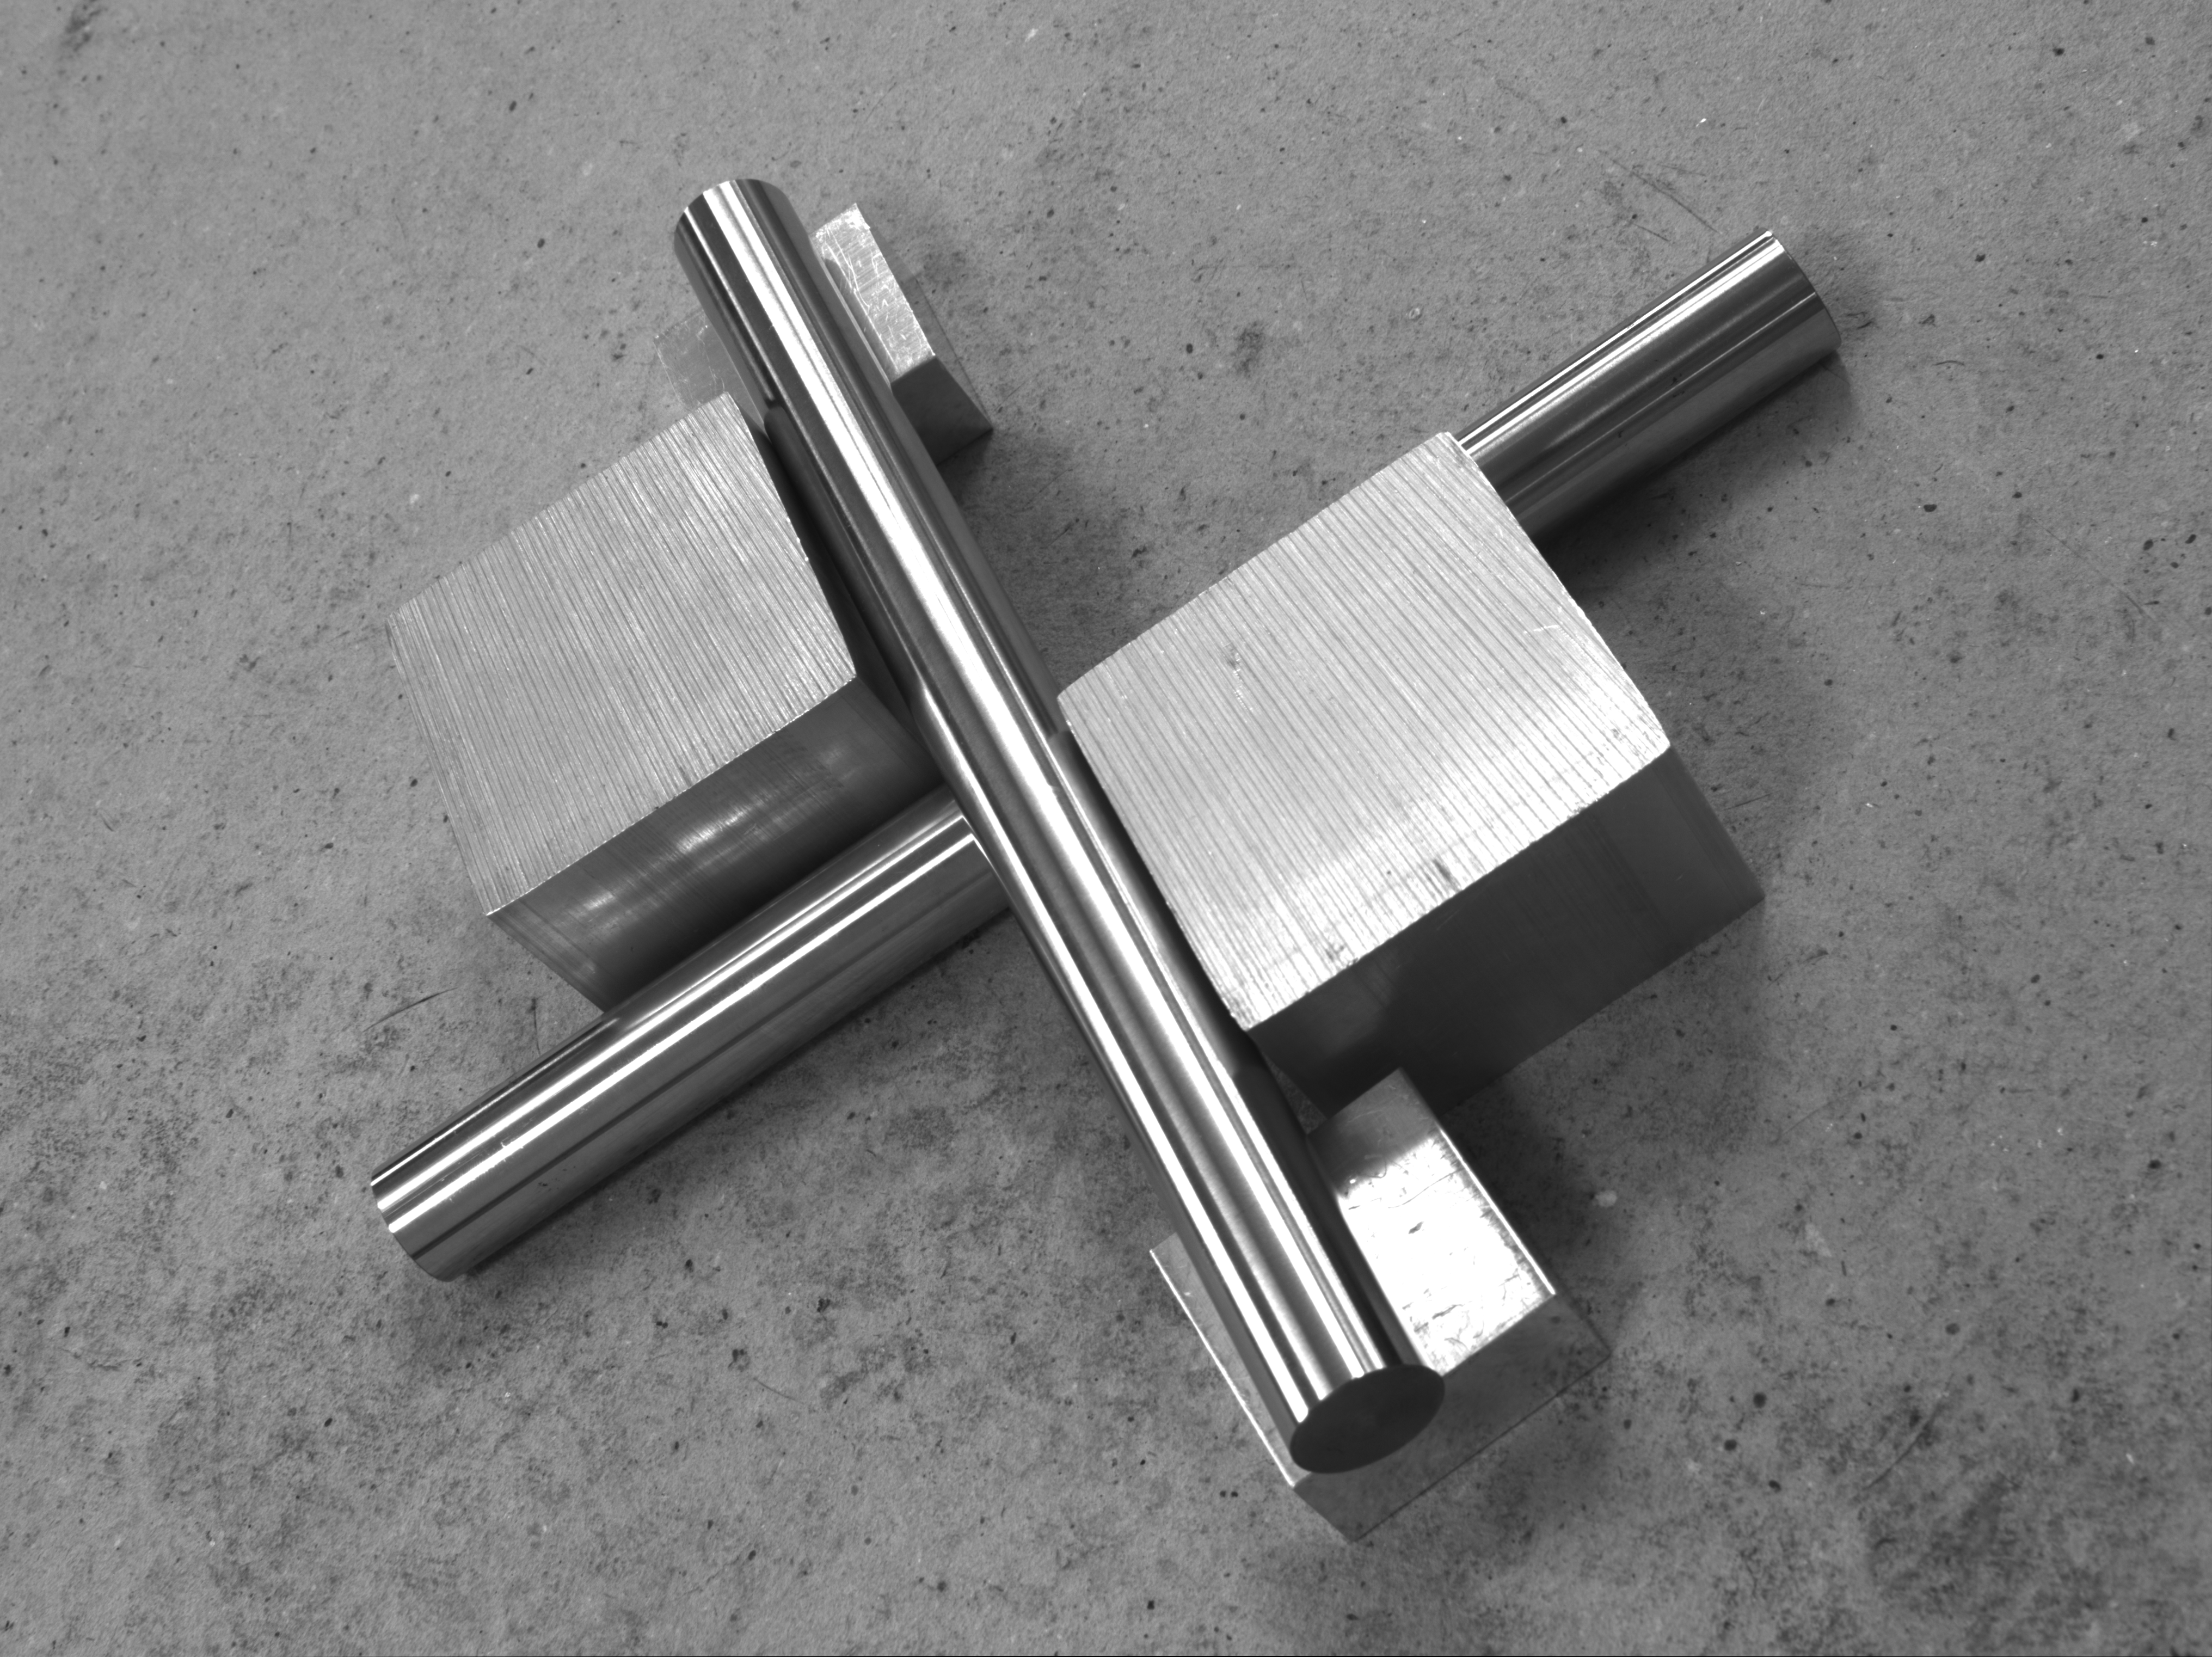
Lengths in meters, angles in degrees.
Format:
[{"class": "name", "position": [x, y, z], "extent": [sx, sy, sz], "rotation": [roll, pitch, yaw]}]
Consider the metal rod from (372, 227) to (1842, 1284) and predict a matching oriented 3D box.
[{"class": "metal rod", "position": [-0.003, -0.011, 0.655], "extent": [0.300, 0.025, 0.025], "rotation": [-34, 51, 6]}]

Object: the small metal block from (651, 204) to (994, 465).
[{"class": "small metal block", "position": [-0.057, -0.088, 0.732], "extent": [0.050, 0.025, 0.050], "rotation": [-33, 51, 7]}]

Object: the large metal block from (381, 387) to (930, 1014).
[{"class": "large metal block", "position": [-0.079, -0.021, 0.683], "extent": [0.080, 0.050, 0.080], "rotation": [-32, 51, 7]}]

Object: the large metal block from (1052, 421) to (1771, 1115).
[{"class": "large metal block", "position": [0.050, -0.006, 0.606], "extent": [0.080, 0.050, 0.080], "rotation": [-34, 51, 6]}]

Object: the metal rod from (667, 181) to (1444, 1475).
[{"class": "metal rod", "position": [-0.018, -0.015, 0.632], "extent": [0.025, 0.025, 0.299], "rotation": [-34, 51, 6]}]

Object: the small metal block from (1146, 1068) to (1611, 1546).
[{"class": "small metal block", "position": [0.042, 0.075, 0.577], "extent": [0.050, 0.025, 0.050], "rotation": [-37, 51, 3]}]
